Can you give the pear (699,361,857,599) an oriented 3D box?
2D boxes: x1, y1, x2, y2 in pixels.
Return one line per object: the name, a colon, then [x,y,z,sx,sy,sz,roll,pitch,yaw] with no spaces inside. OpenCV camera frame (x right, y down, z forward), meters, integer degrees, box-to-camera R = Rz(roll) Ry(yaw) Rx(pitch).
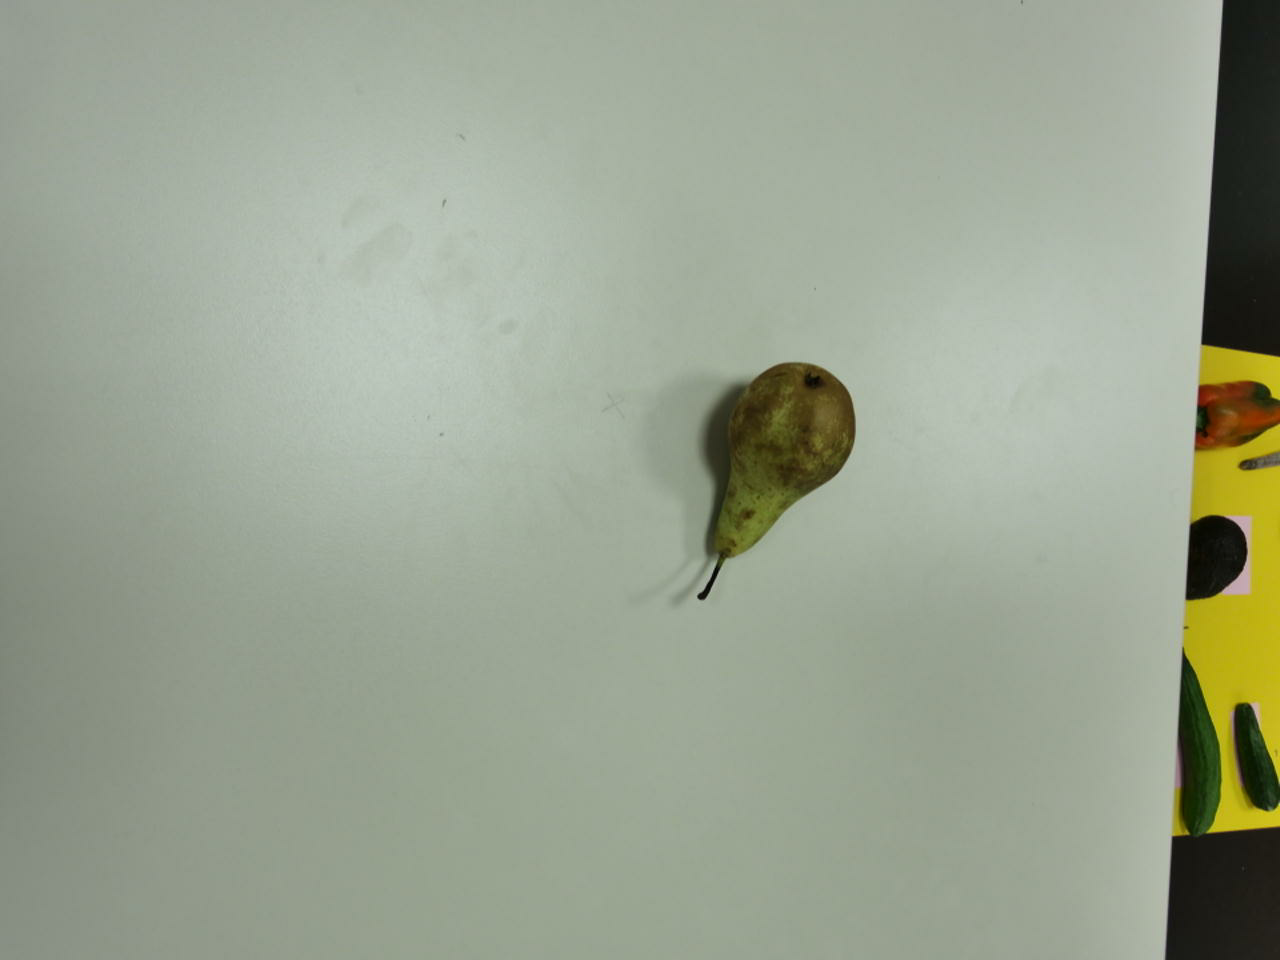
pear: [0.080,0.004,0.570,0.071,0.075,0.144,13,86,-22]
